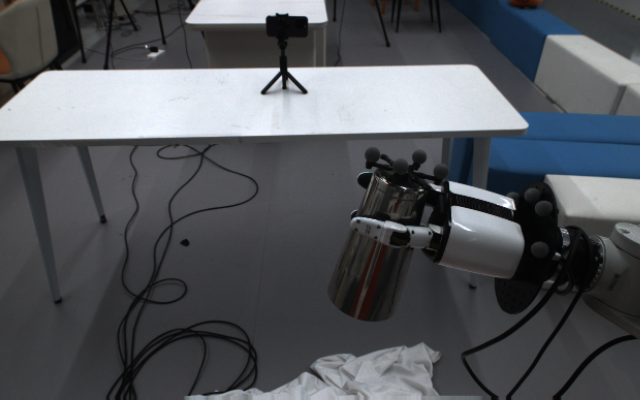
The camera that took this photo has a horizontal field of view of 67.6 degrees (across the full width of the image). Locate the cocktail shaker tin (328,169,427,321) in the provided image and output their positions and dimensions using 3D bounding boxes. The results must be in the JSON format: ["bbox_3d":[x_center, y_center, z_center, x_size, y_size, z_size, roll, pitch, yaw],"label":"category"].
[{"bbox_3d":[0.077,0.048,0.587,0.093,0.170,0.093,12,25,-6],"label":"cocktail shaker tin"}]
